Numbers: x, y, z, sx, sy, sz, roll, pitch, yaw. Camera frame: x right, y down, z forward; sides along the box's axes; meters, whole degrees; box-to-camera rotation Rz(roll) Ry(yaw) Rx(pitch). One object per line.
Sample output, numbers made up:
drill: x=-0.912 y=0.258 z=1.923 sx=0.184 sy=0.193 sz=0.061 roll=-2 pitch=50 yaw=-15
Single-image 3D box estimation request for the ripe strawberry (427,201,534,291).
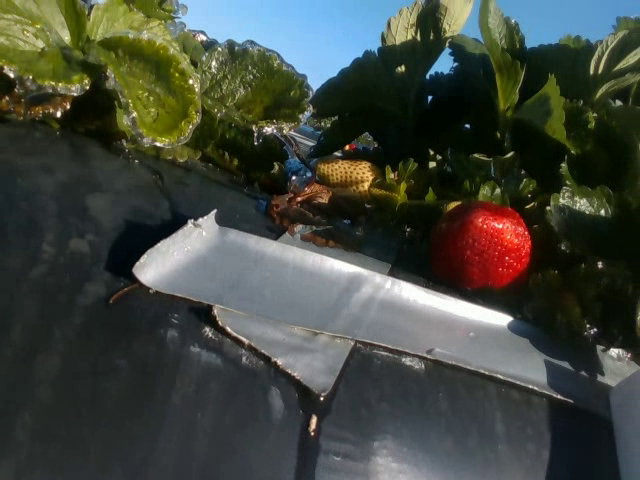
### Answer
ripe strawberry: x=0.082 y=0.002 z=0.296 sx=0.057 sy=0.061 sz=0.065 roll=-39 pitch=-17 yaw=0
